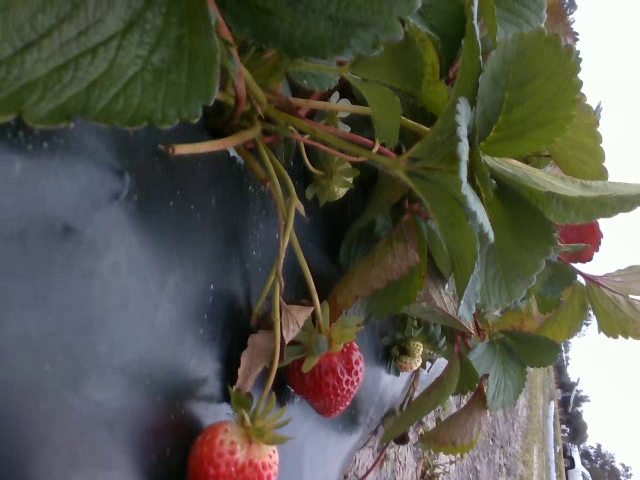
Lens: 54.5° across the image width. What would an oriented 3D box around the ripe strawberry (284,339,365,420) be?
[{"bbox_3d":[0.006,0.064,0.281,0.044,0.059,0.041,-22,41,-27],"label":"ripe strawberry"}]
